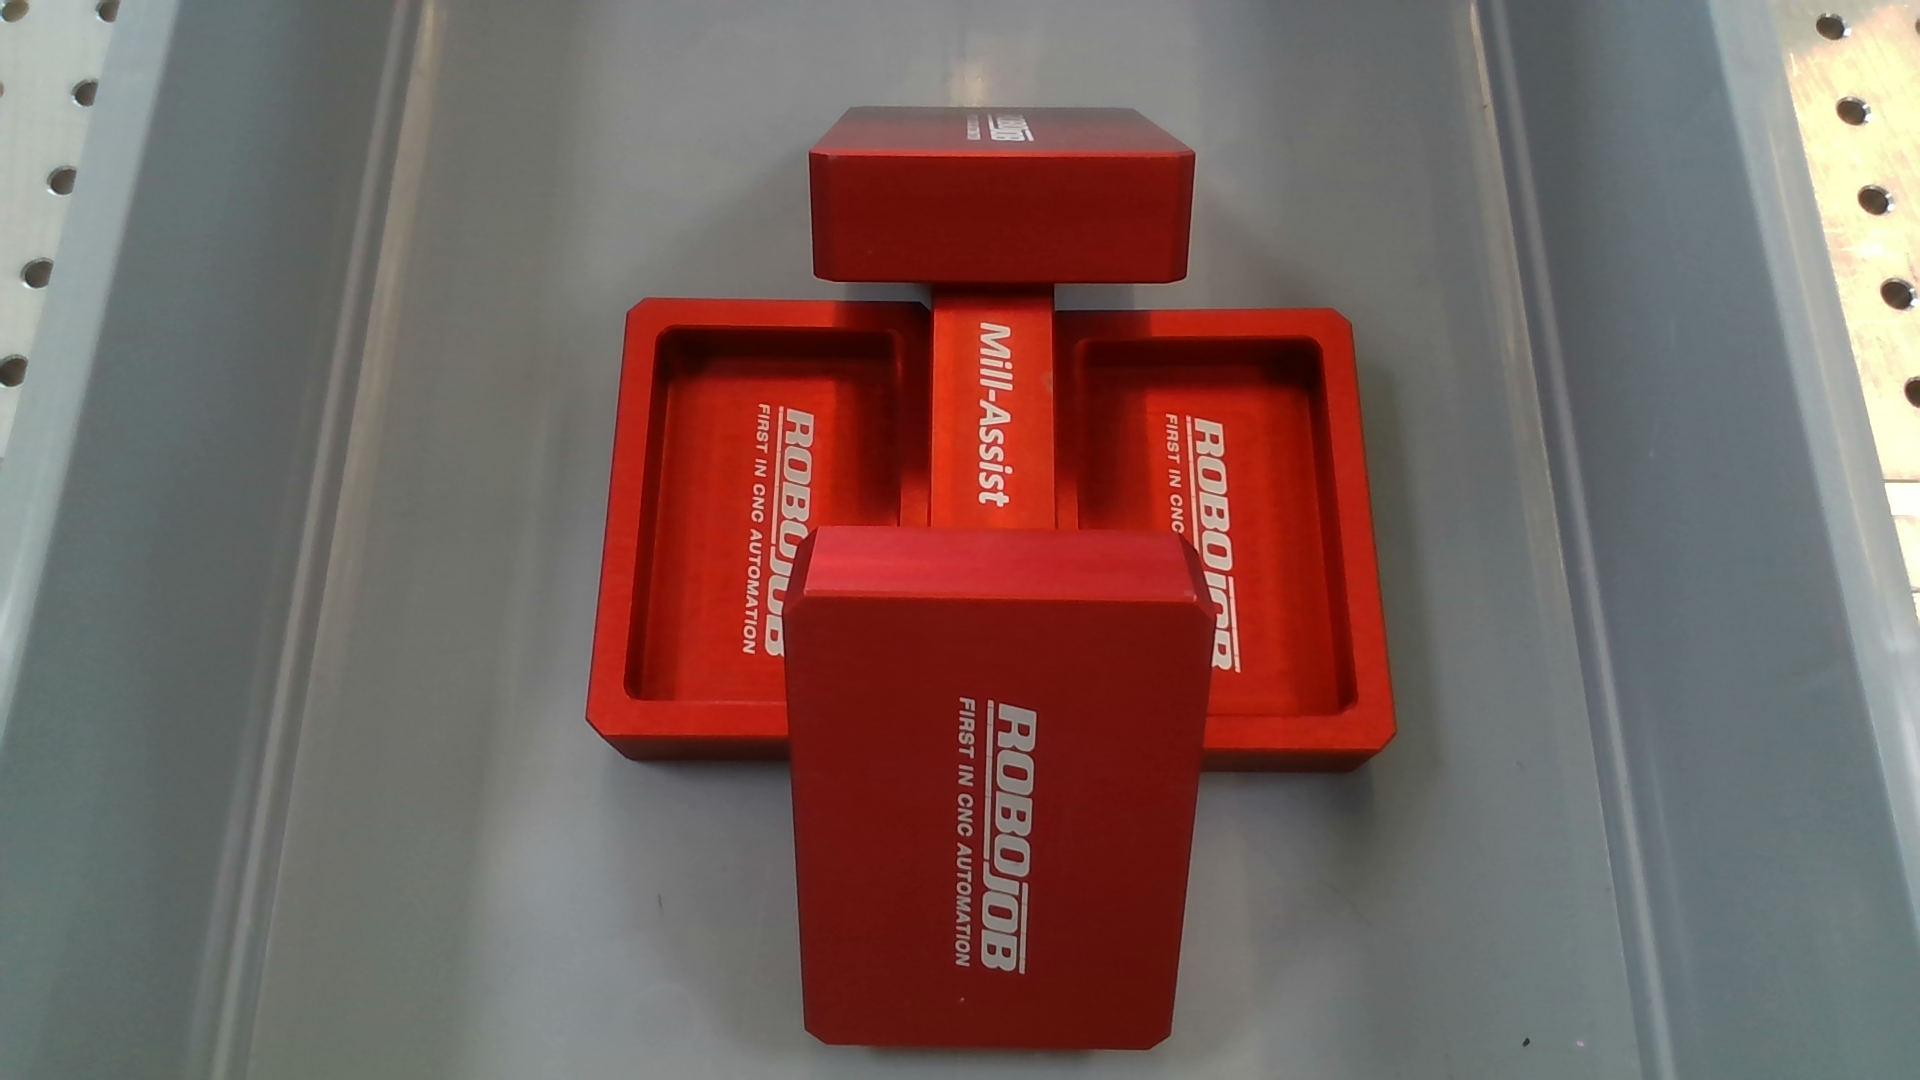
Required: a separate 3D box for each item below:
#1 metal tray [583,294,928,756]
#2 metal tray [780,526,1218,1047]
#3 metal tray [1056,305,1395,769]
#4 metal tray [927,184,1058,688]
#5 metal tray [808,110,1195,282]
[{"bbox_3d":[-0.053,-0.005,0.392,0.090,0.030,0.130,0,71,0],"label":"metal tray"},{"bbox_3d":[0.007,0.061,0.324,0.090,0.130,0.030,1,28,0],"label":"metal tray"},{"bbox_3d":[0.068,-0.002,0.392,0.090,0.030,0.130,0,71,0],"label":"metal tray"},{"bbox_3d":[0.008,-0.016,0.366,0.030,0.090,0.130,0,71,0],"label":"metal tray"},{"bbox_3d":[0.010,-0.099,0.381,0.090,0.130,0.030,0,112,0],"label":"metal tray"}]
